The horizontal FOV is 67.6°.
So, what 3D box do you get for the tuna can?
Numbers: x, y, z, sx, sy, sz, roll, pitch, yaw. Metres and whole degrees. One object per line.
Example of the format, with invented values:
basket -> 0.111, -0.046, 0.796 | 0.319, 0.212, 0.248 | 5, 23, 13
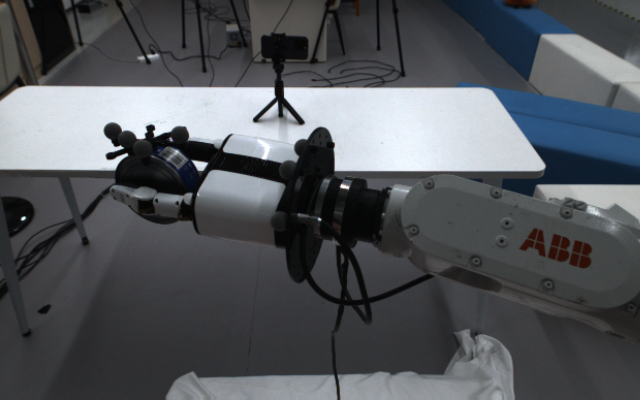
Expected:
tuna can -> -0.172, -0.018, 0.522 | 0.085, 0.085, 0.034 | 11, 33, 12
